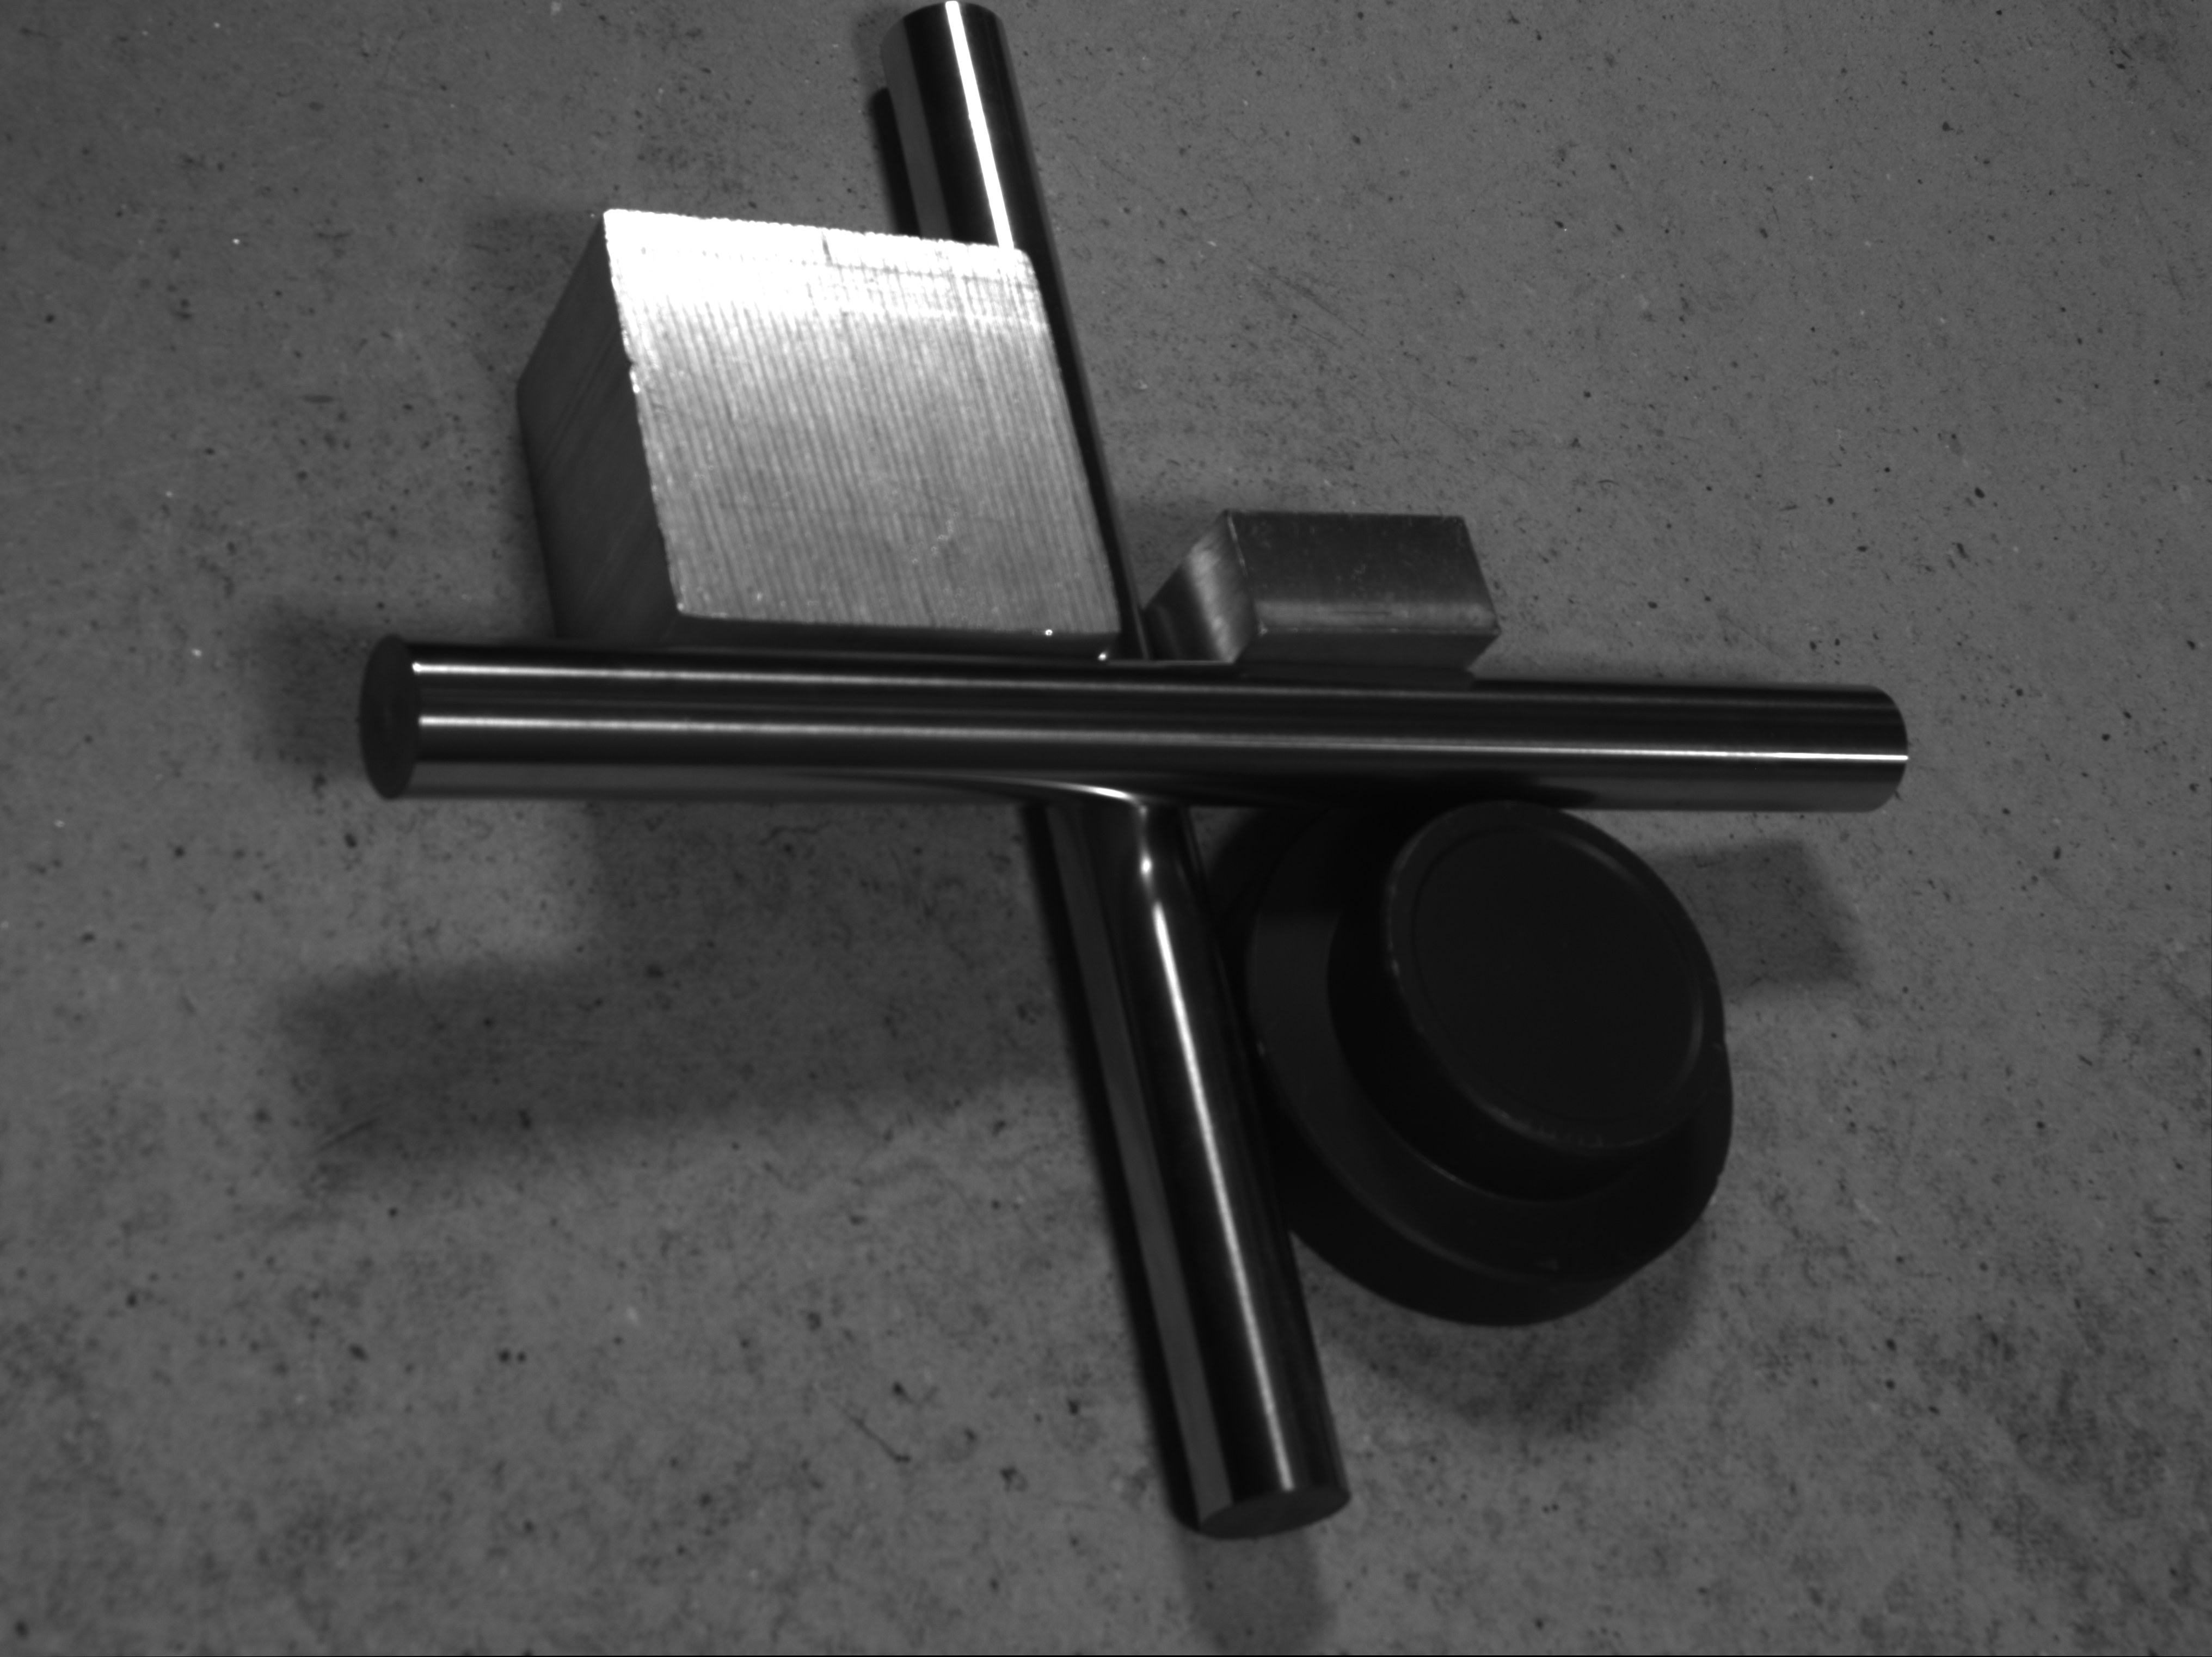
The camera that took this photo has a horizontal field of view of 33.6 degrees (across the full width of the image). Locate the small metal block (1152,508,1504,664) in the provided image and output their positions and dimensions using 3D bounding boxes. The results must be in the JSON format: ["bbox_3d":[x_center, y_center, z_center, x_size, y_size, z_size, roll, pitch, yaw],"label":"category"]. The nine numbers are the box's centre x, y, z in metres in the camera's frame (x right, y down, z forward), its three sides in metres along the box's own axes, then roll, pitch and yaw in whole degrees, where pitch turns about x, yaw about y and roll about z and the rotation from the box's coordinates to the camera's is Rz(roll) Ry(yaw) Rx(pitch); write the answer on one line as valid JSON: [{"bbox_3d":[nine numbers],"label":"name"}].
[{"bbox_3d":[0.036,-0.033,0.664,0.050,0.050,0.025,-1,62,-29],"label":"small metal block"}]

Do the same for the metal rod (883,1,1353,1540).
[{"bbox_3d":[-0.002,-0.022,0.652,0.025,0.025,0.300,2,61,-27],"label":"metal rod"}]

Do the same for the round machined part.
[{"bbox_3d":[0.070,0.034,0.644,0.098,0.042,0.098,14,56,-21],"label":"round machined part"}]

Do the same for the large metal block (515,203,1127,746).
[{"bbox_3d":[-0.051,-0.056,0.630,0.080,0.050,0.080,1,61,-28],"label":"large metal block"}]

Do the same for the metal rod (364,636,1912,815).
[{"bbox_3d":[0.020,-0.016,0.629,0.301,0.025,0.025,0,61,-33],"label":"metal rod"}]
